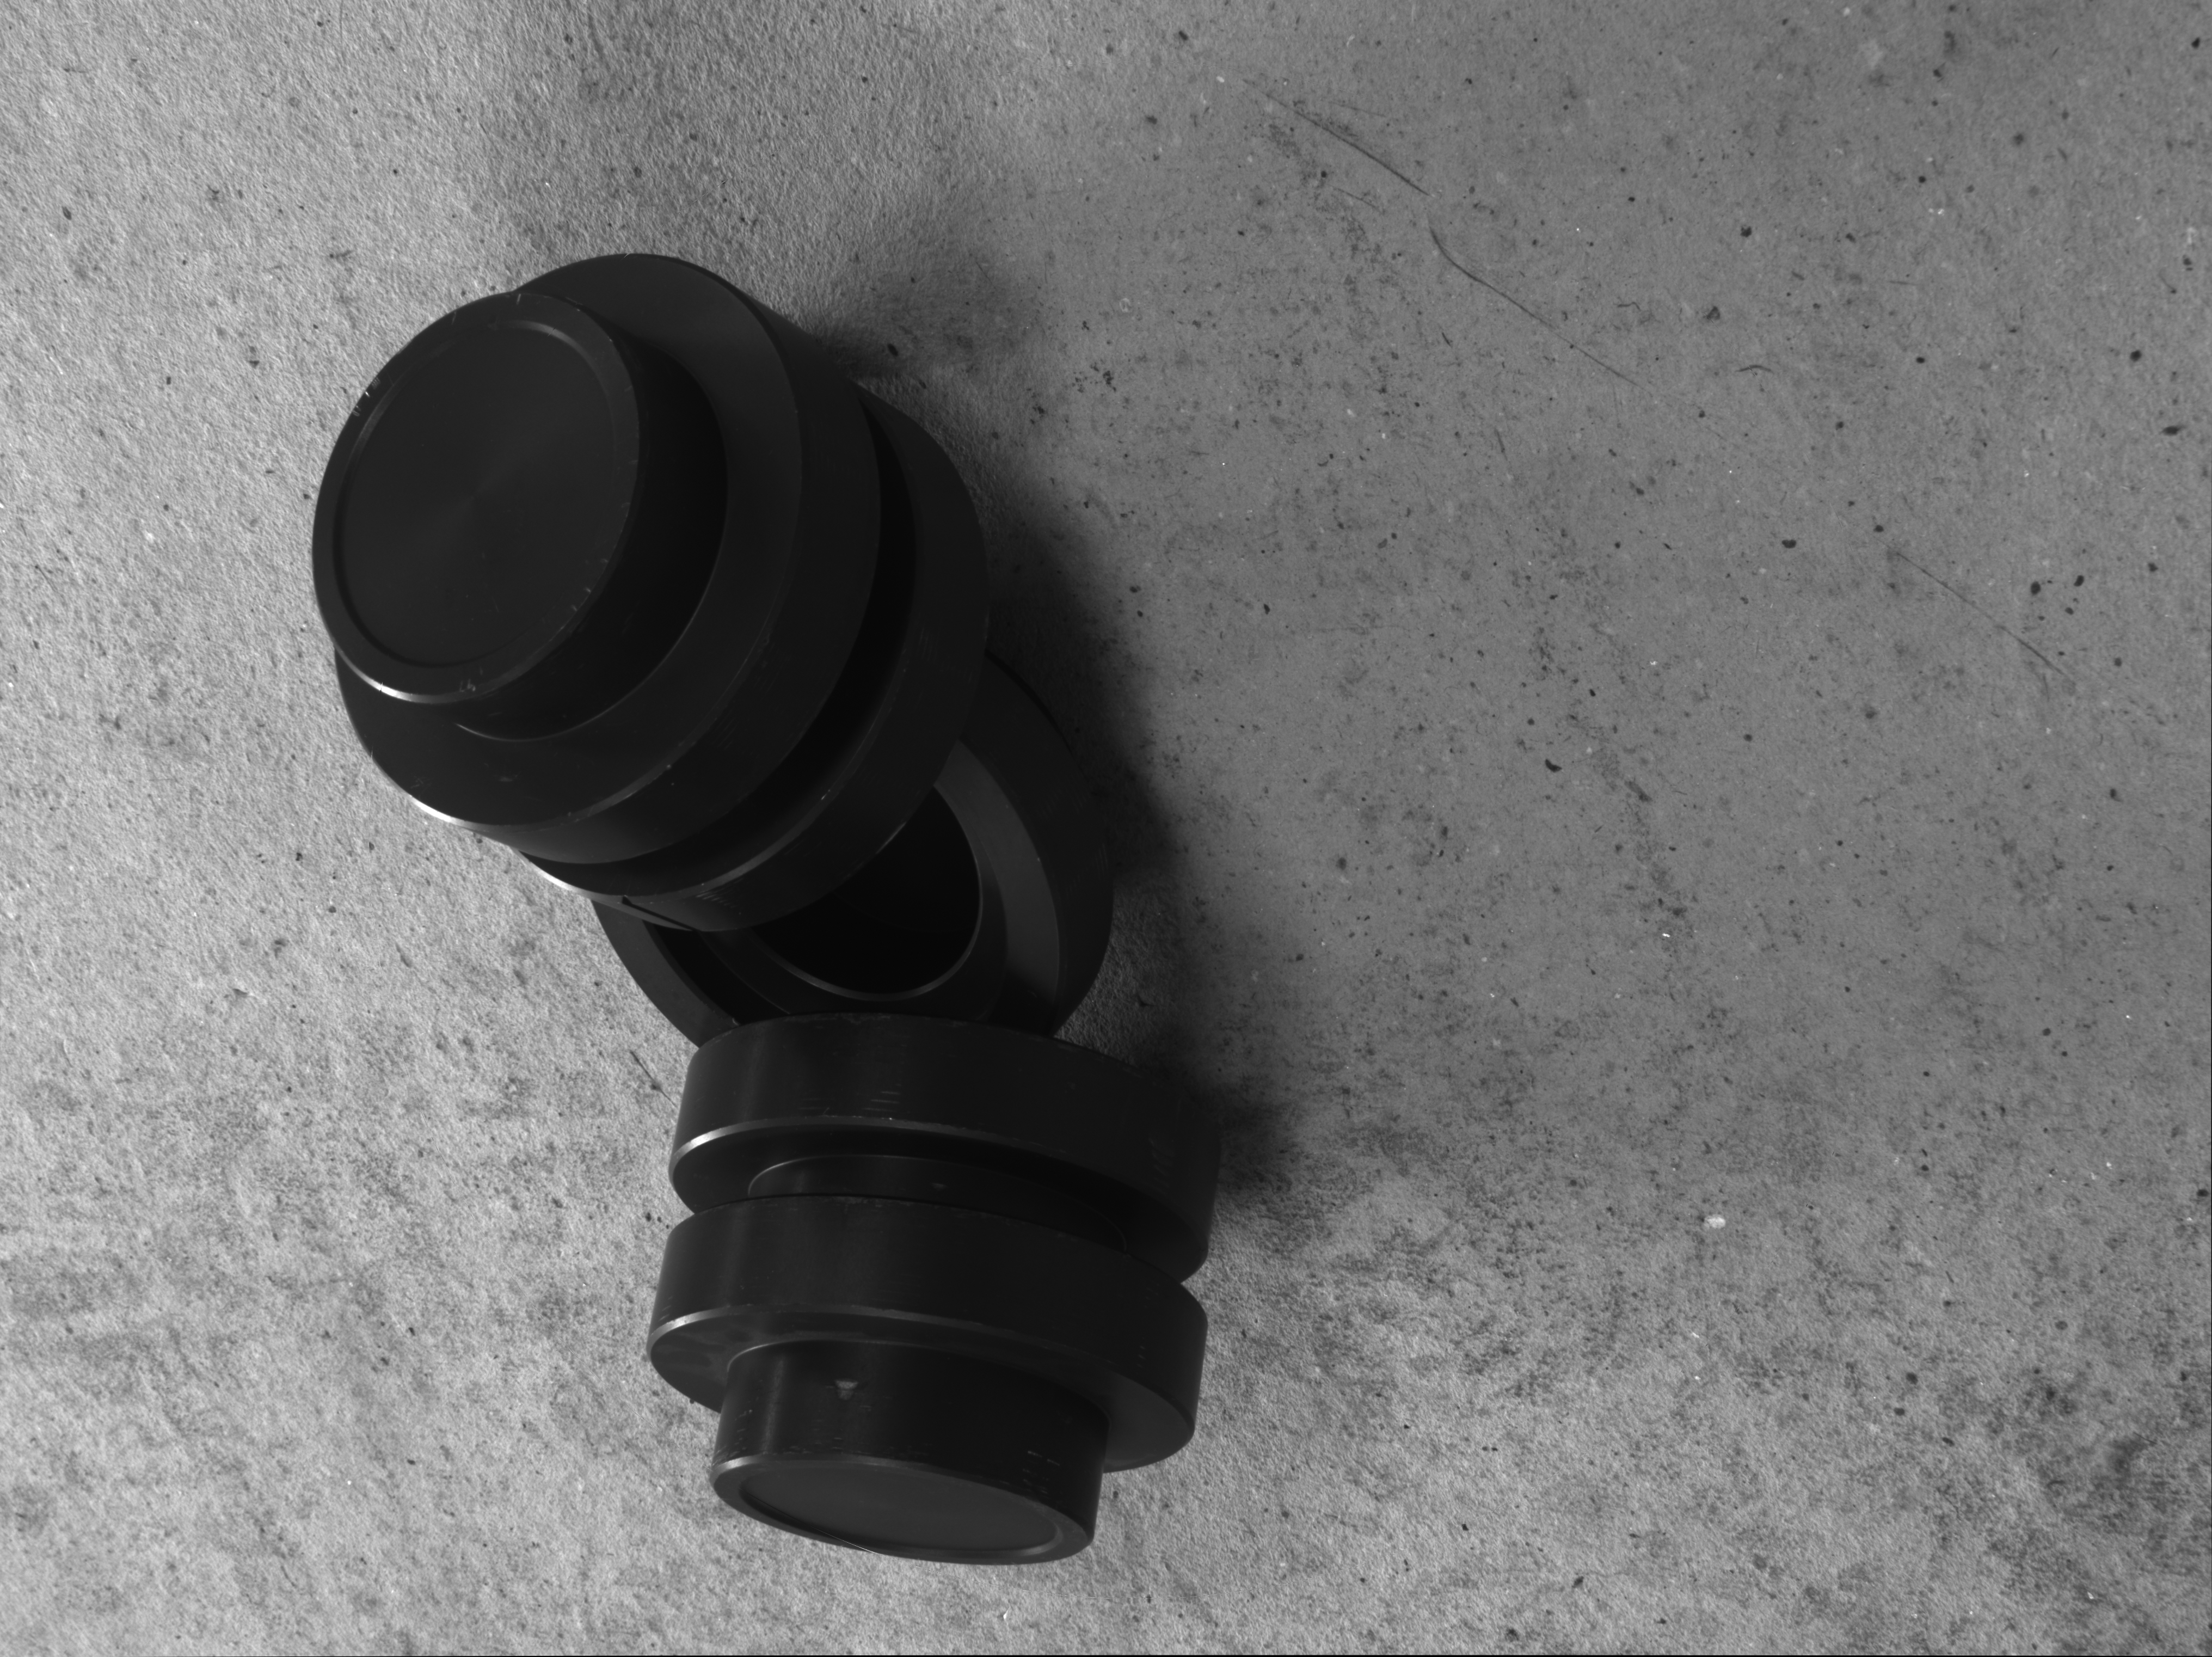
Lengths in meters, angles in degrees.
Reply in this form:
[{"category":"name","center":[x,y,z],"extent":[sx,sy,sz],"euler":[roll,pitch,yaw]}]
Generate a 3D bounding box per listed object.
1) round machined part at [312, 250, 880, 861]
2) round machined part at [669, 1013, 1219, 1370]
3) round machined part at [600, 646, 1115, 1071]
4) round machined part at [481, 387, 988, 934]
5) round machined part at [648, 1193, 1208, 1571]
[{"category":"round machined part","center":[-0.088,-0.047,0.588],"extent":[0.098,0.042,0.098],"euler":[-10,70,30]},{"category":"round machined part","center":[-0.030,0.071,0.660],"extent":[0.098,0.042,0.098],"euler":[7,156,4]},{"category":"round machined part","center":[-0.042,0.000,0.656],"extent":[0.098,0.042,0.098],"euler":[13,124,21]},{"category":"round machined part","center":[-0.072,-0.035,0.613],"extent":[0.098,0.042,0.098],"euler":[-10,70,29]},{"category":"round machined part","center":[-0.033,0.102,0.649],"extent":[0.098,0.042,0.098],"euler":[7,155,4]}]
